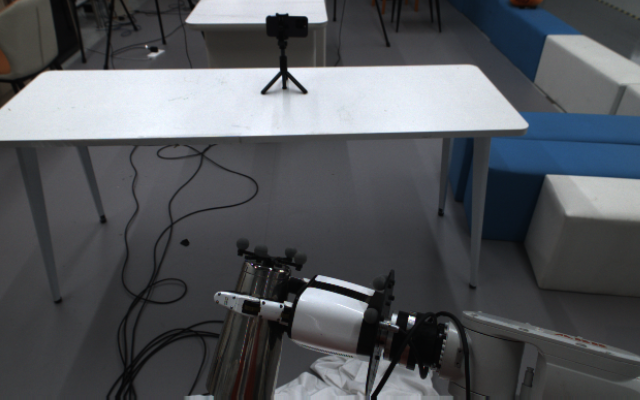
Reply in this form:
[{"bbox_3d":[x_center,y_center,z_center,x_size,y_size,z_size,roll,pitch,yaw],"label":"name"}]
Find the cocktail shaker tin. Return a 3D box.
[{"bbox_3d":[-0.084,0.166,0.640,0.093,0.170,0.093,12,1,0],"label":"cocktail shaker tin"}]
